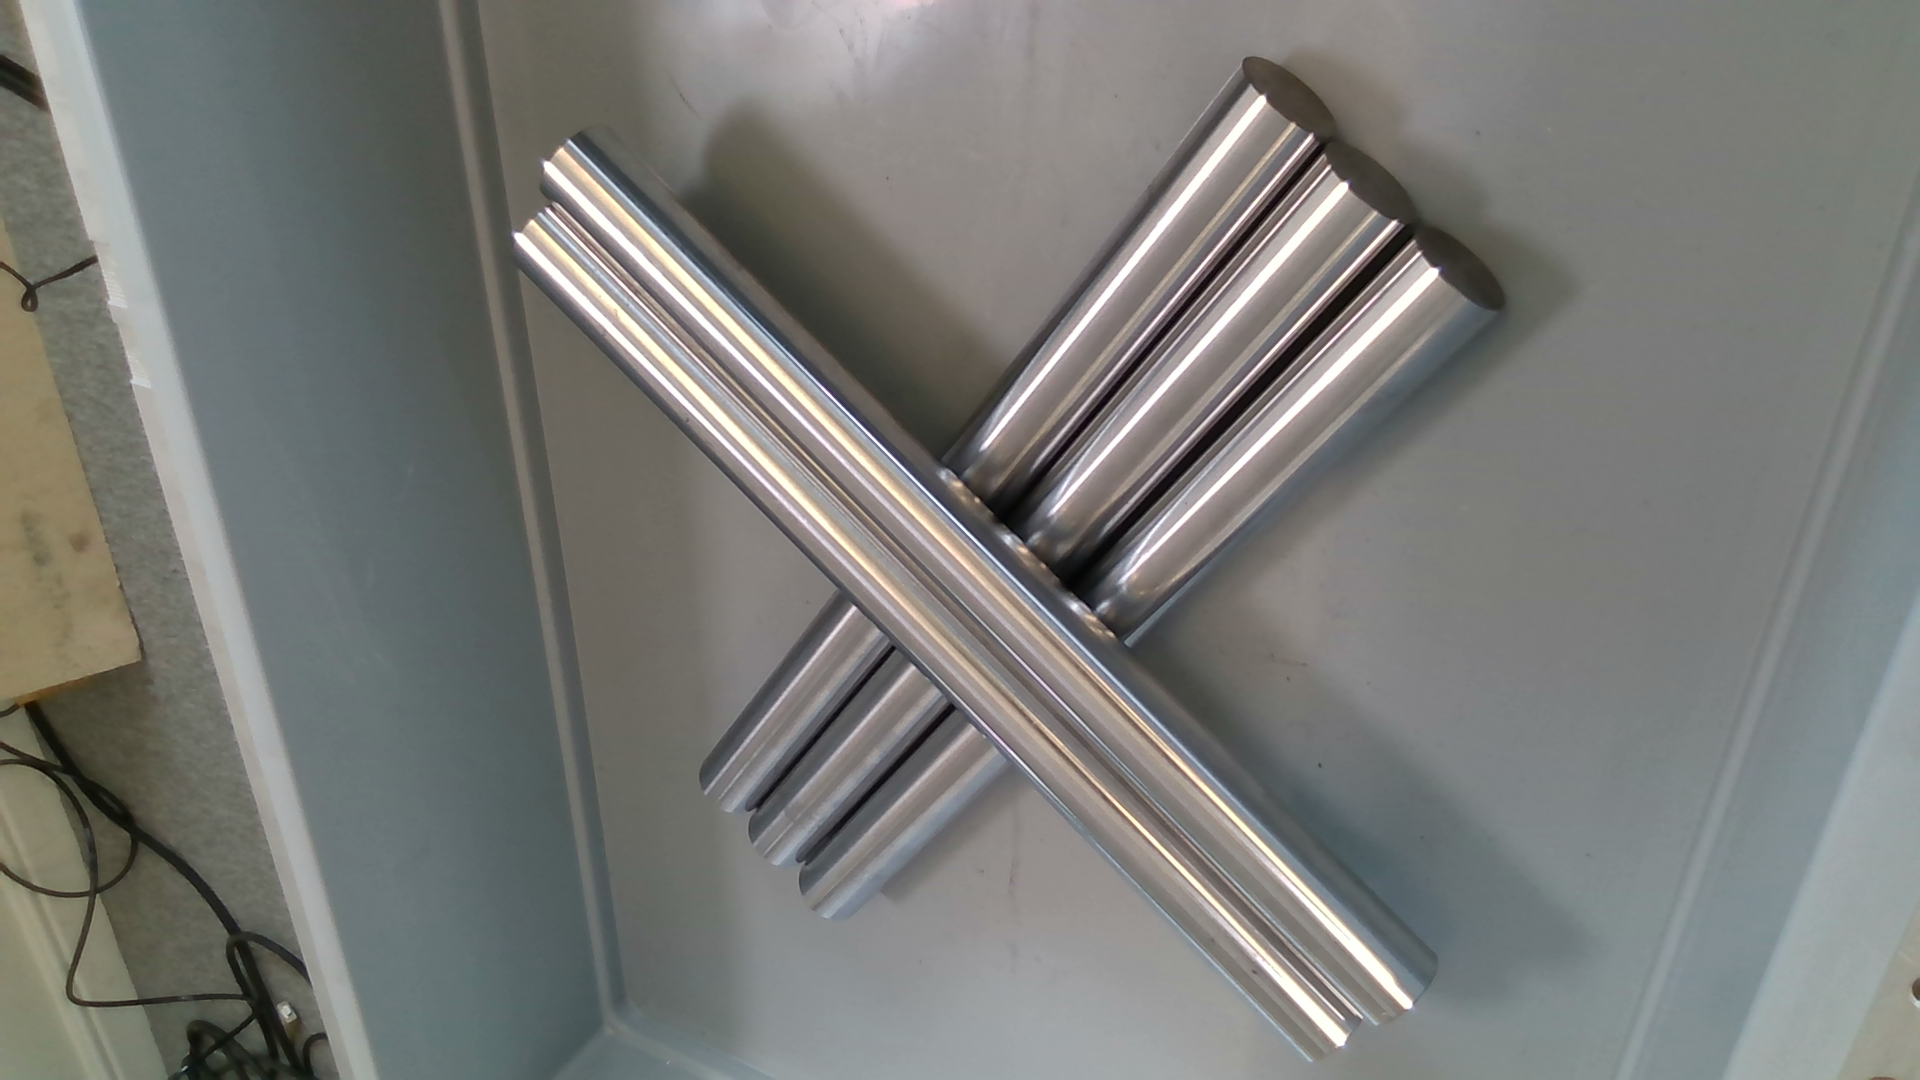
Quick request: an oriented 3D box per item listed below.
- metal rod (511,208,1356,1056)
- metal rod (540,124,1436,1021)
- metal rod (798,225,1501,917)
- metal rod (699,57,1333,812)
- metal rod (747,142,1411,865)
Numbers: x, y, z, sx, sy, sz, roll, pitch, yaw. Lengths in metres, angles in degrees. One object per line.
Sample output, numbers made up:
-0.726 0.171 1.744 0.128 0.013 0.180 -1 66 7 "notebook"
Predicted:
-0.008 0.021 0.372 0.300 0.025 0.025 45 129 3 "metal rod"
0.005 0.006 0.355 0.300 0.025 0.025 45 129 3 "metal rod"
0.030 0.031 0.386 0.025 0.025 0.301 44 129 4 "metal rod"
-0.005 -0.005 0.388 0.025 0.025 0.301 43 129 4 "metal rod"
0.011 0.013 0.388 0.025 0.025 0.301 43 129 4 "metal rod"
